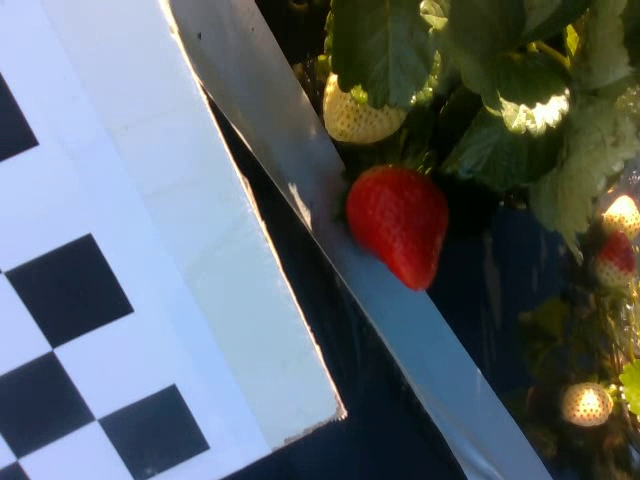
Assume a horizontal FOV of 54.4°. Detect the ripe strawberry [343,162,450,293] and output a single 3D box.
[{"bbox_3d":[0.030,-0.005,0.236,0.045,0.049,0.064,0,44,-10],"label":"ripe strawberry"}]
